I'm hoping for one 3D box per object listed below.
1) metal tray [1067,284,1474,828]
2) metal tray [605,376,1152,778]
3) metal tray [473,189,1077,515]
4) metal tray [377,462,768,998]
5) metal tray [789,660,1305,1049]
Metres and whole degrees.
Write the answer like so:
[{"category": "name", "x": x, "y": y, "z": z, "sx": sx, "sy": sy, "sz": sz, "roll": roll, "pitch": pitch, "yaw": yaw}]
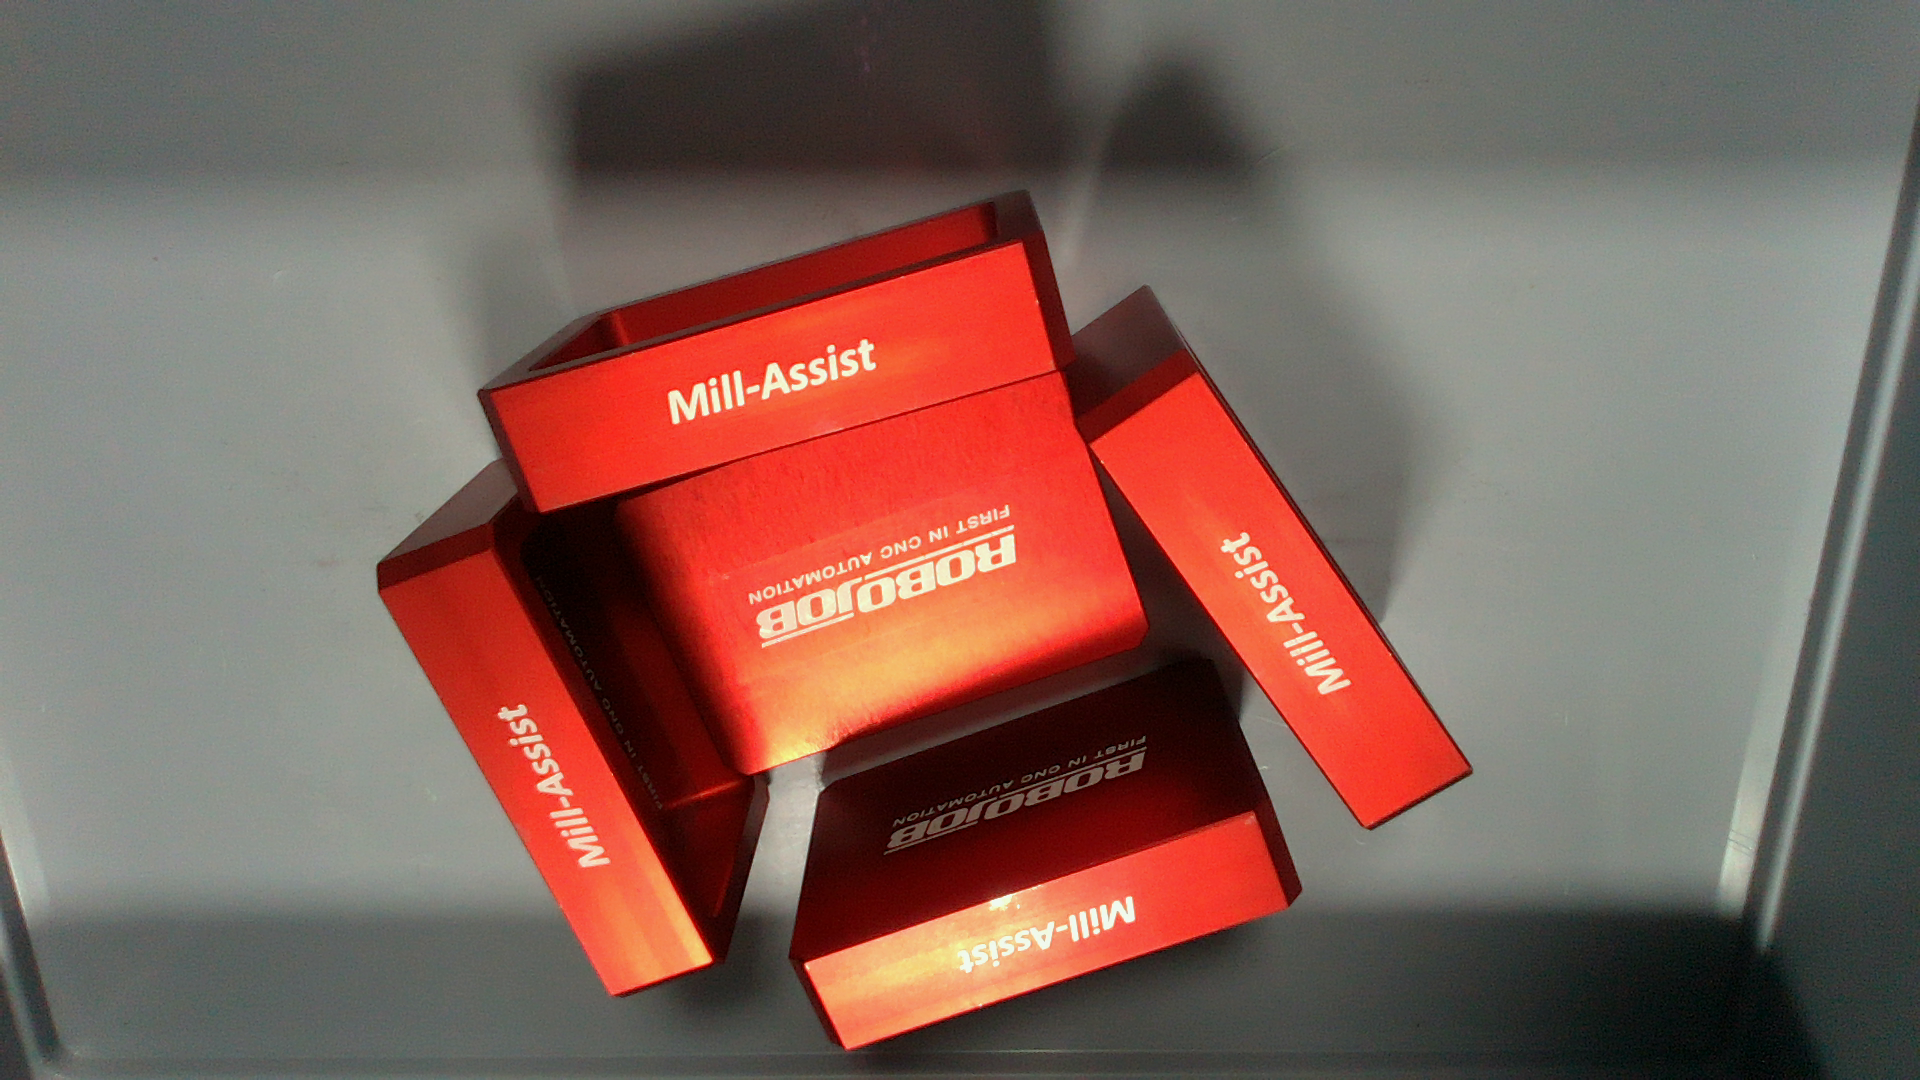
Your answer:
[{"category": "metal tray", "x": 0.077, "y": 0.001, "z": 0.359, "sx": 0.030, "sy": 0.090, "sz": 0.130, "roll": -34, "pitch": 107, "yaw": 13}, {"category": "metal tray", "x": -0.021, "y": 0.005, "z": 0.391, "sx": 0.130, "sy": 0.030, "sz": 0.090, "roll": -19, "pitch": 109, "yaw": 7}, {"category": "metal tray", "x": -0.041, "y": -0.050, "z": 0.339, "sx": 0.130, "sy": 0.090, "sz": 0.030, "roll": -15, "pitch": 110, "yaw": 5}, {"category": "metal tray", "x": -0.097, "y": 0.044, "z": 0.373, "sx": 0.030, "sy": 0.090, "sz": 0.130, "roll": -20, "pitch": 109, "yaw": 7}, {"category": "metal tray", "x": 0.022, "y": 0.085, "z": 0.389, "sx": 0.130, "sy": 0.090, "sz": 0.030, "roll": -20, "pitch": 109, "yaw": 7}]
